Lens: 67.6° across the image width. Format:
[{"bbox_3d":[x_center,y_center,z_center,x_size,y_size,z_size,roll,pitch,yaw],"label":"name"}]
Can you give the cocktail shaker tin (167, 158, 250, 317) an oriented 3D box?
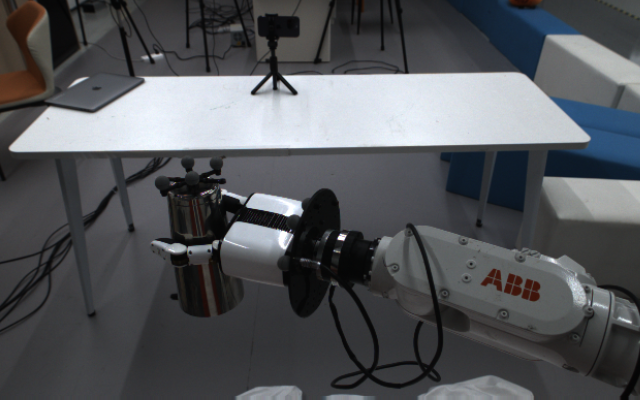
[{"bbox_3d":[-0.154,0.059,0.646,0.093,0.170,0.093,-2,26,1],"label":"cocktail shaker tin"}]
